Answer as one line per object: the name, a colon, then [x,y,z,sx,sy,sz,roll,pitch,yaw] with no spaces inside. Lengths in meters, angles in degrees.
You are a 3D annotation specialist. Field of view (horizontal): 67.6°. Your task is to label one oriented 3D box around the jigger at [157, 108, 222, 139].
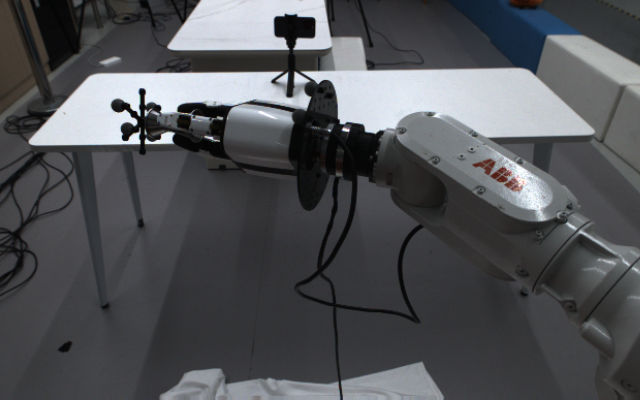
jigger: [-0.185,-0.105,0.647,0.071,0.043,0.043,5,34,15]
